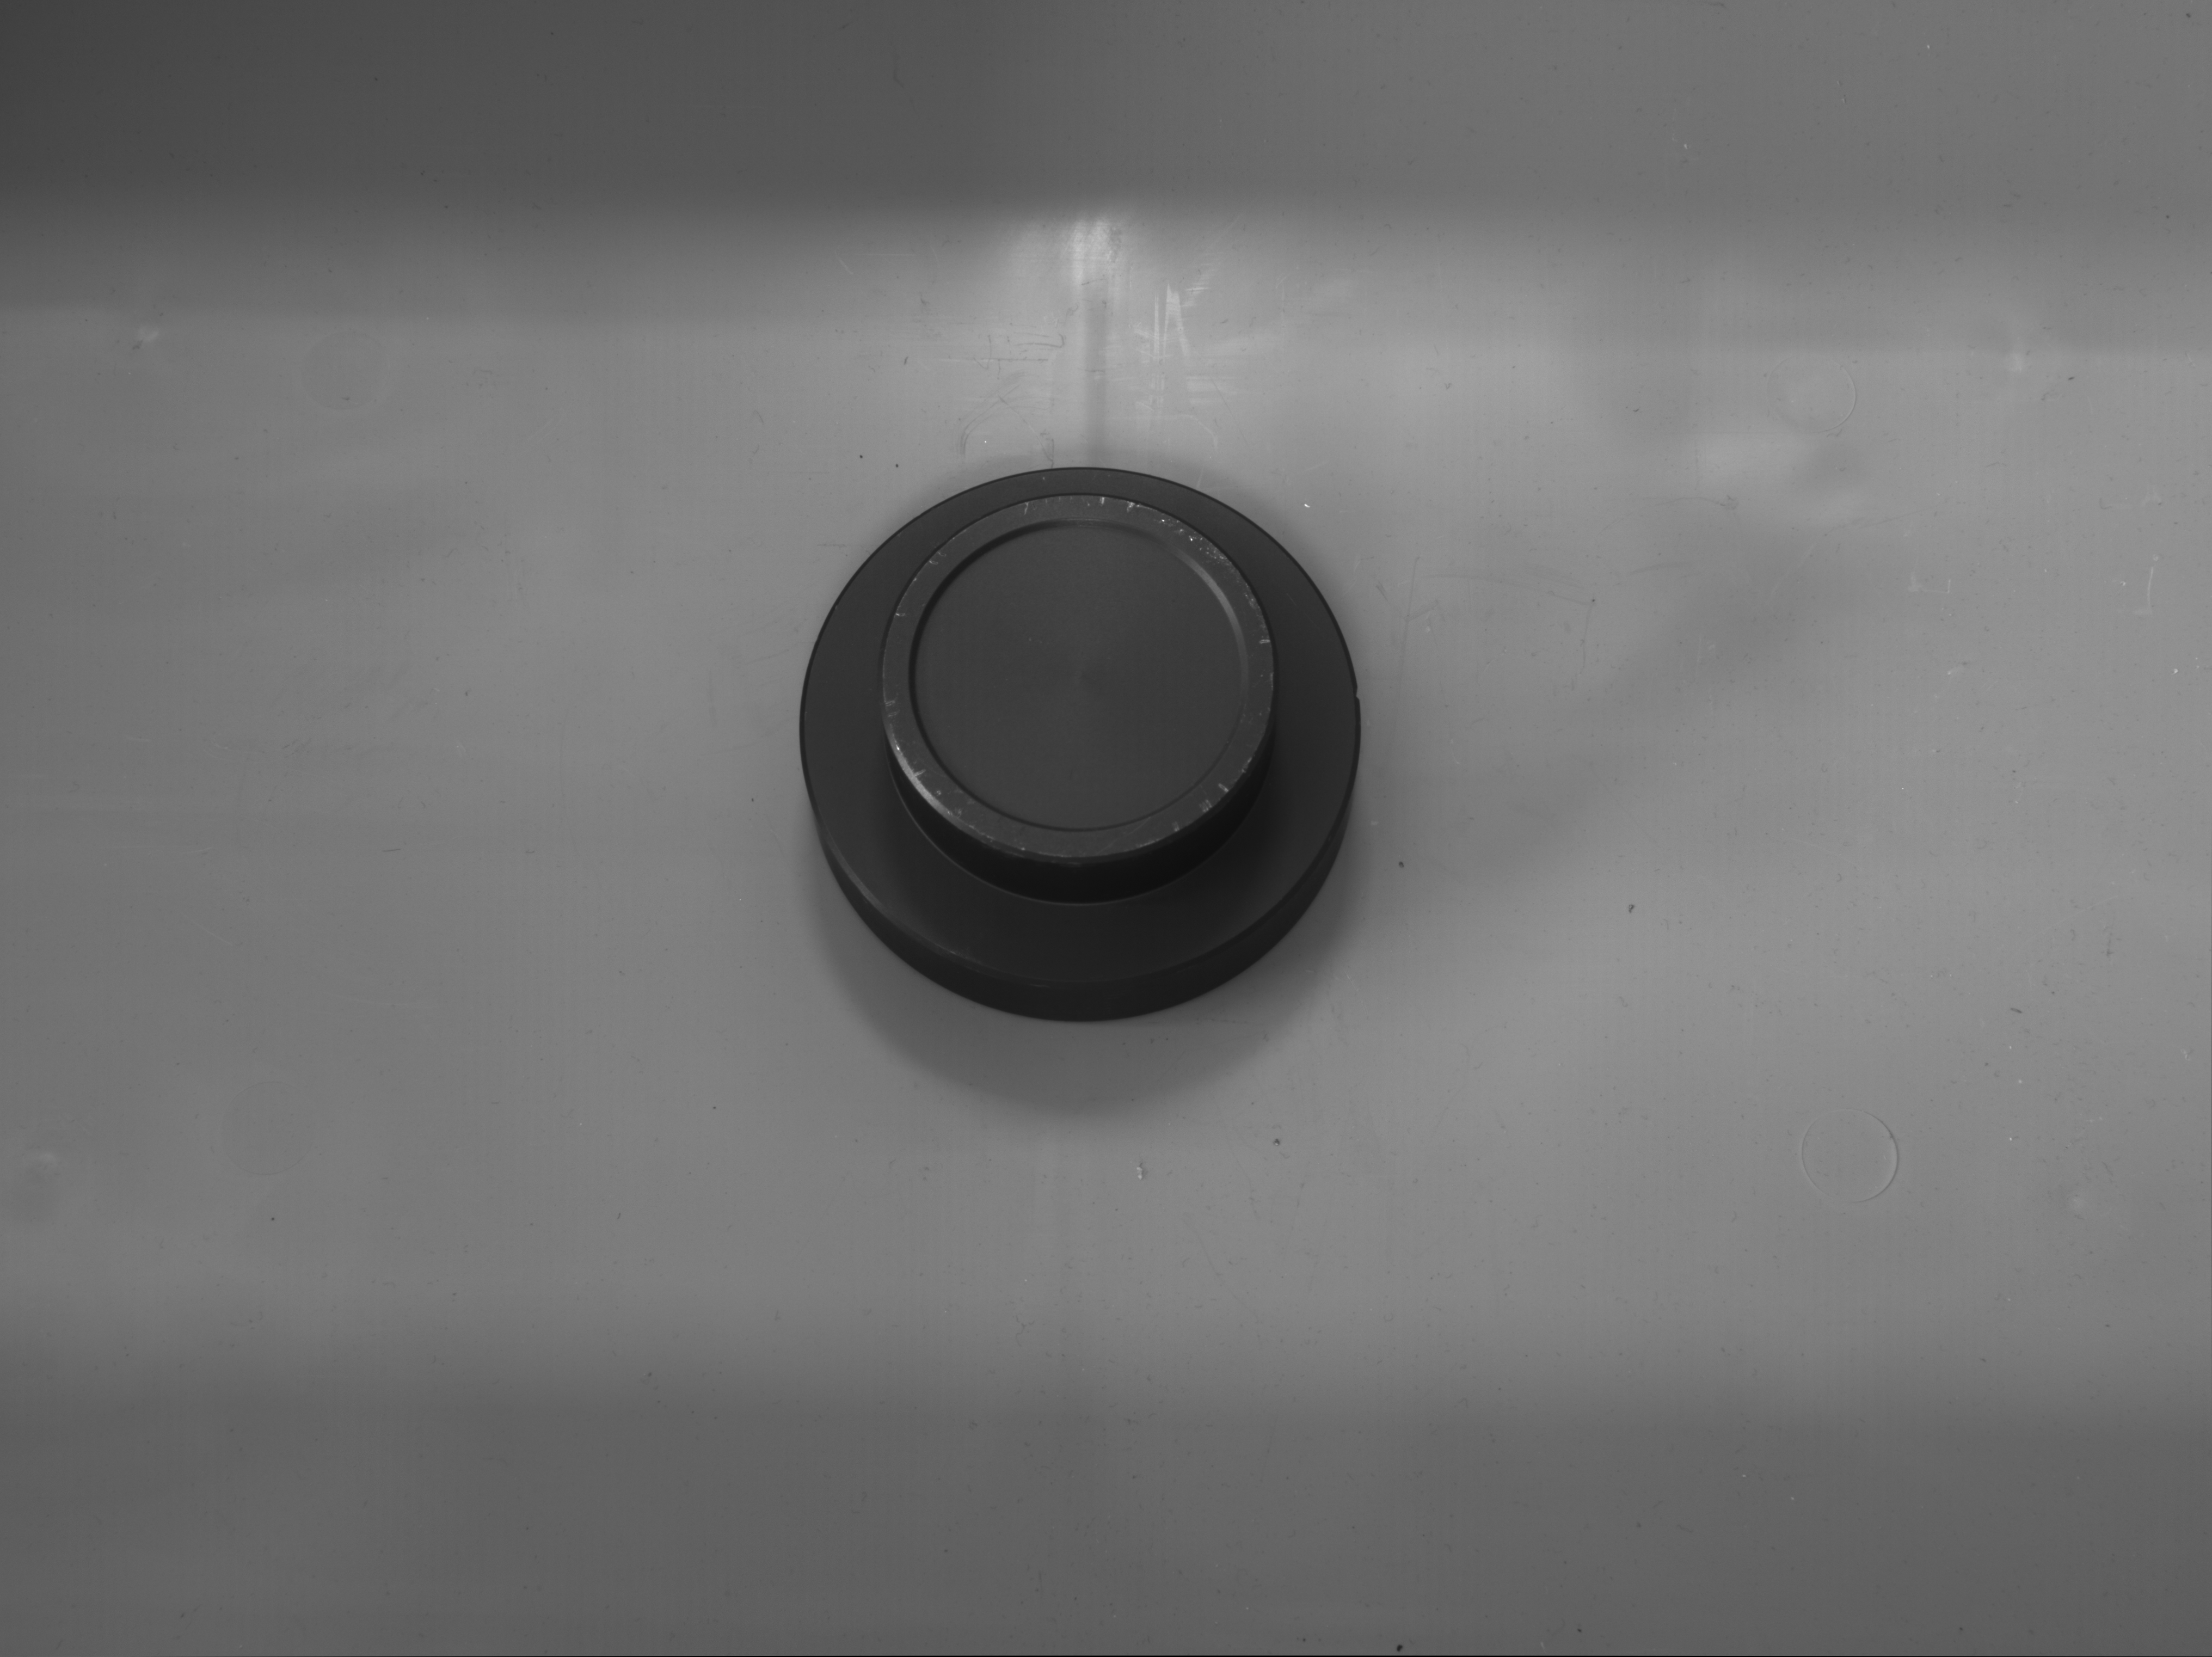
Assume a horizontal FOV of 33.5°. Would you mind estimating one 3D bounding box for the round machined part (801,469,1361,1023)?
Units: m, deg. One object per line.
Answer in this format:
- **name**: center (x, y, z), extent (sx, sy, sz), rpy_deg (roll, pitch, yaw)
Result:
- **round machined part**: center (-0.004, -0.019, 0.641), extent (0.098, 0.042, 0.098), rpy_deg (0, 70, 0)
